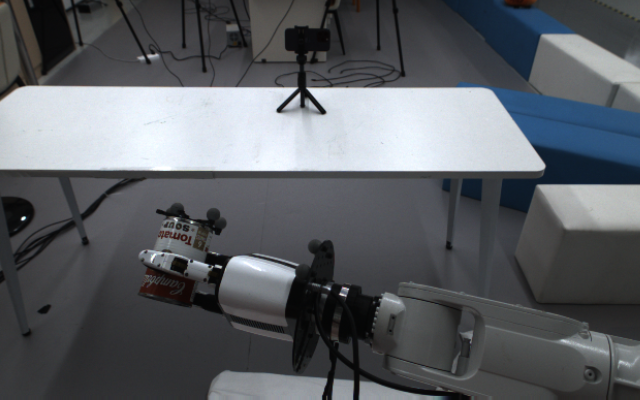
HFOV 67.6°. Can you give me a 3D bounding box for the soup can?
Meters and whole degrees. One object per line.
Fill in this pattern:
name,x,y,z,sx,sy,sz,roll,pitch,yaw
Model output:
soup can,-0.182,0.081,0.619,0.067,0.067,0.101,9,72,10
